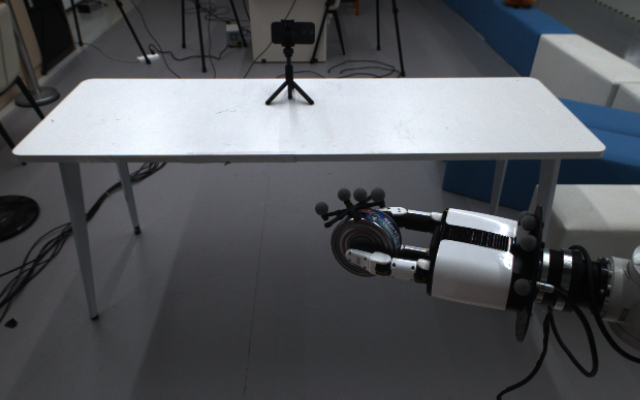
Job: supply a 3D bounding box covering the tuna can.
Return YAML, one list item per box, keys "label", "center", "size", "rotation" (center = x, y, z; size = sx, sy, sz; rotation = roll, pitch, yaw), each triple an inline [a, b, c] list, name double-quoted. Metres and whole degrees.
- label: "tuna can"
  center: [0.060, 0.052, 0.614]
  size: [0.085, 0.085, 0.034]
  rotation: [15, 30, 17]
